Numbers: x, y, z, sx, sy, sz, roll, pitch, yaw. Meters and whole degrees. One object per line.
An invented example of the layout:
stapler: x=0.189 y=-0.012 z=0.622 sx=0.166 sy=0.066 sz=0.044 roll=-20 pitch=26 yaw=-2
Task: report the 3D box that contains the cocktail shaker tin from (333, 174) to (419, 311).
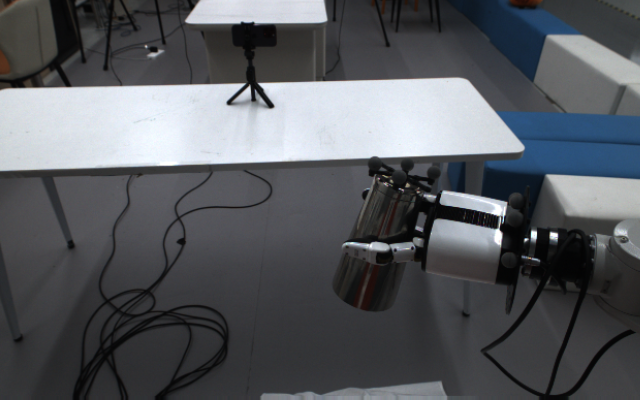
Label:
cocktail shaker tin: x=0.083 y=0.049 z=0.643 sx=0.093 sy=0.170 sz=0.093 roll=12 pitch=24 yaw=-5
